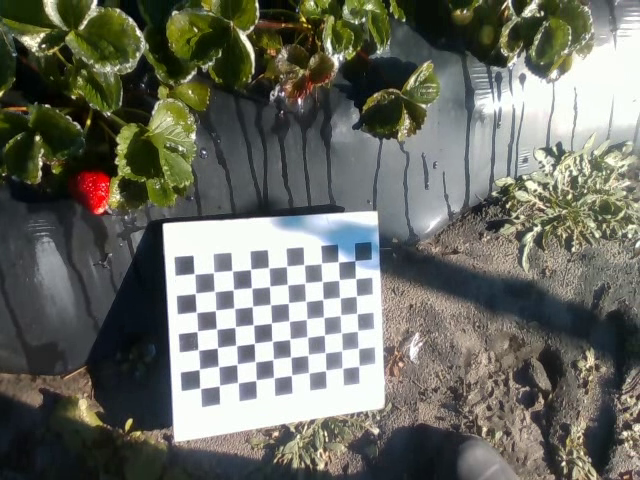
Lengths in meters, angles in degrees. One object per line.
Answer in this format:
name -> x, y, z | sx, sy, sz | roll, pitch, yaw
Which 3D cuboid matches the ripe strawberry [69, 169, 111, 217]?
ripe strawberry -> -0.211, -0.043, 0.605 | 0.041, 0.053, 0.047 | -11, -31, -18
